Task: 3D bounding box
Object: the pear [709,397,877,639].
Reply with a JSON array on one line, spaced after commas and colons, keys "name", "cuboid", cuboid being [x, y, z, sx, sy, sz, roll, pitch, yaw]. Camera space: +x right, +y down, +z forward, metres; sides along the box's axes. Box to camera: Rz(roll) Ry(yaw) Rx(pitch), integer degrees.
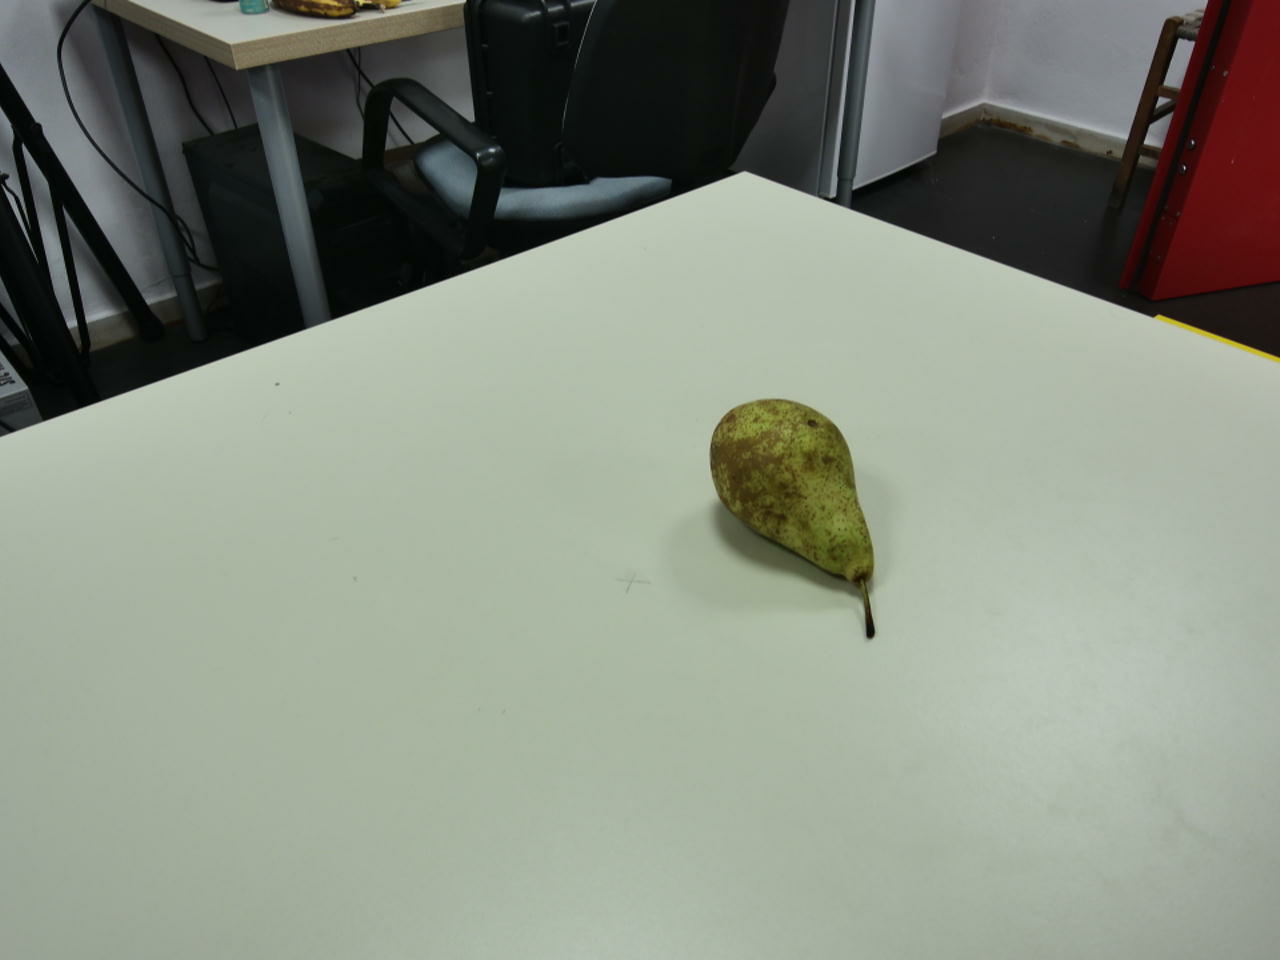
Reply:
[{"name": "pear", "cuboid": [0.089, 0.004, 0.517, 0.128, 0.075, 0.071, 29, 44, 32]}]
